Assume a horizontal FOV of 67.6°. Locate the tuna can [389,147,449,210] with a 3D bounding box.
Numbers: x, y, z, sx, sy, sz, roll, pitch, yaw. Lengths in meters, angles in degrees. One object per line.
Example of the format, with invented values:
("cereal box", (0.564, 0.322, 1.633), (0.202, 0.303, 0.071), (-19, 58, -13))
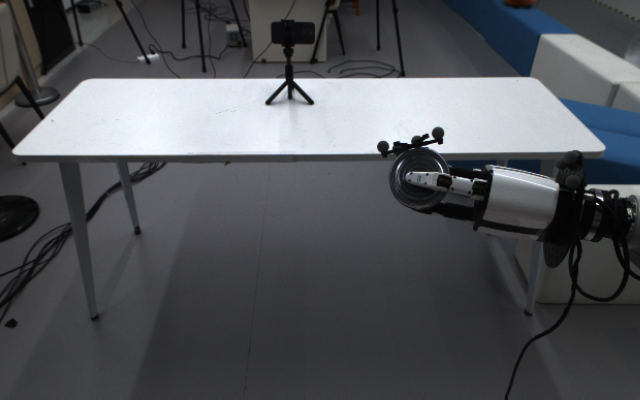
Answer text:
("tuna can", (0.143, -0.033, 0.686), (0.085, 0.085, 0.034), (12, -6, 14))
